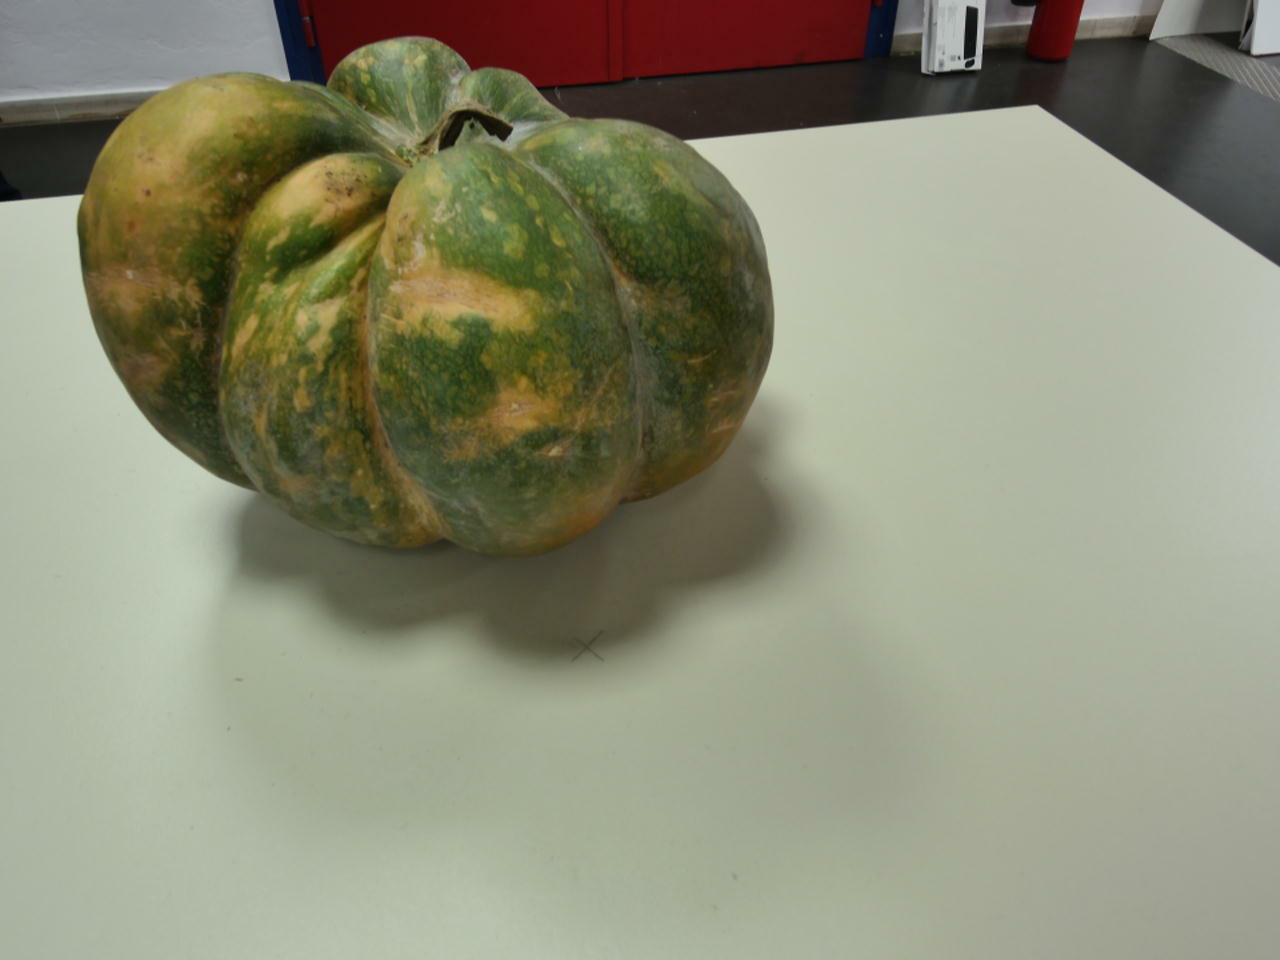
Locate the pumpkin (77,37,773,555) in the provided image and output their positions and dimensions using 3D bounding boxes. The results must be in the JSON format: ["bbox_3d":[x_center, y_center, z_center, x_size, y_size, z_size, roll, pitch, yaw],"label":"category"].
[{"bbox_3d":[-0.076,-0.081,0.401,0.270,0.173,0.237,15,41,18],"label":"pumpkin"}]
